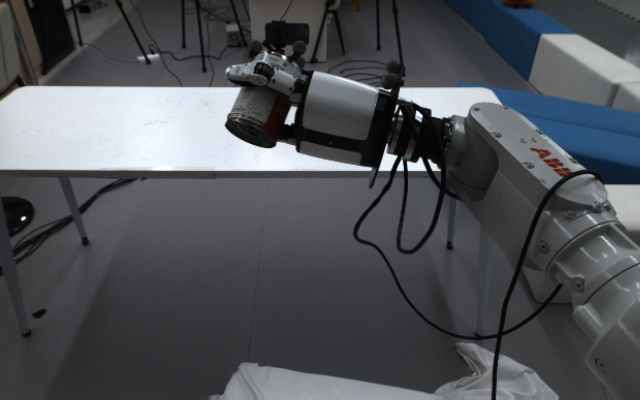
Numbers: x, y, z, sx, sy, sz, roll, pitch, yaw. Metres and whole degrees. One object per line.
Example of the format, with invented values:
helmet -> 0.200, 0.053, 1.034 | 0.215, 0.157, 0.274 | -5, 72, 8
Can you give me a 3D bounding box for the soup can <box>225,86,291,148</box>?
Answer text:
soup can -> -0.069, -0.125, 0.612 | 0.067, 0.067, 0.101 | 15, 75, 18
